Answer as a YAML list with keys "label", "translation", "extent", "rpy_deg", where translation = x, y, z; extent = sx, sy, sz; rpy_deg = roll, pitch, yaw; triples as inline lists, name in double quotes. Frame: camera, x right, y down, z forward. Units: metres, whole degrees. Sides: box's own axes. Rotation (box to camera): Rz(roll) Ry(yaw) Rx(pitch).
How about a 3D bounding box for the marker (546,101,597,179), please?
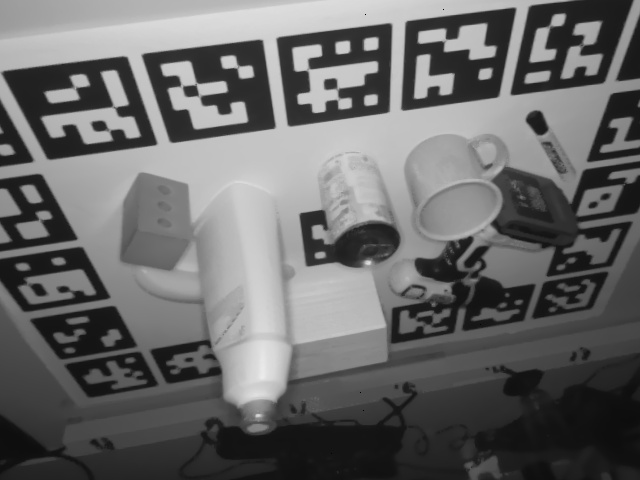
- label: "marker"
  translation: [0.269, -0.106, 0.741]
  extent: [0.019, 0.020, 0.122]
  rpy_deg: [-31, 134, 17]

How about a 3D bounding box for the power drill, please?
- label: "power drill"
  translation: [0.214, 0.014, 0.834]
  extent: [0.186, 0.058, 0.184]
  rpy_deg: [14, 133, -22]

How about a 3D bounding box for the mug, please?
- label: "mug"
  translation: [0.159, -0.062, 0.711]
  extent: [0.094, 0.082, 0.115]
  rpy_deg: [27, 123, -32]

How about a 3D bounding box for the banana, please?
- label: "banana"
  translation: [-0.099, 0.054, 0.807]
  extent: [0.199, 0.039, 0.073]
  rpy_deg: [4, 122, -14]

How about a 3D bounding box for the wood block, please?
- label: "wood block"
  translation: [-0.010, 0.117, 0.864]
  extent: [0.207, 0.091, 0.089]
  rpy_deg: [-9, 137, -3]

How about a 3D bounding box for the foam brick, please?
- label: "foam brick"
  translation: [-0.151, -0.027, 0.684]
  extent: [0.053, 0.078, 0.050]
  rpy_deg: [15, 134, -29]

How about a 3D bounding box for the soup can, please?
- label: "soup can"
  translation: [0.055, -0.032, 0.697]
  extent: [0.068, 0.102, 0.067]
  rpy_deg: [-6, 142, -4]

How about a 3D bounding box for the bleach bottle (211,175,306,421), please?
- label: "bleach bottle"
  translation: [-0.058, 0.056, 0.664]
  extent: [0.068, 0.252, 0.101]
  rpy_deg: [13, 134, -25]
